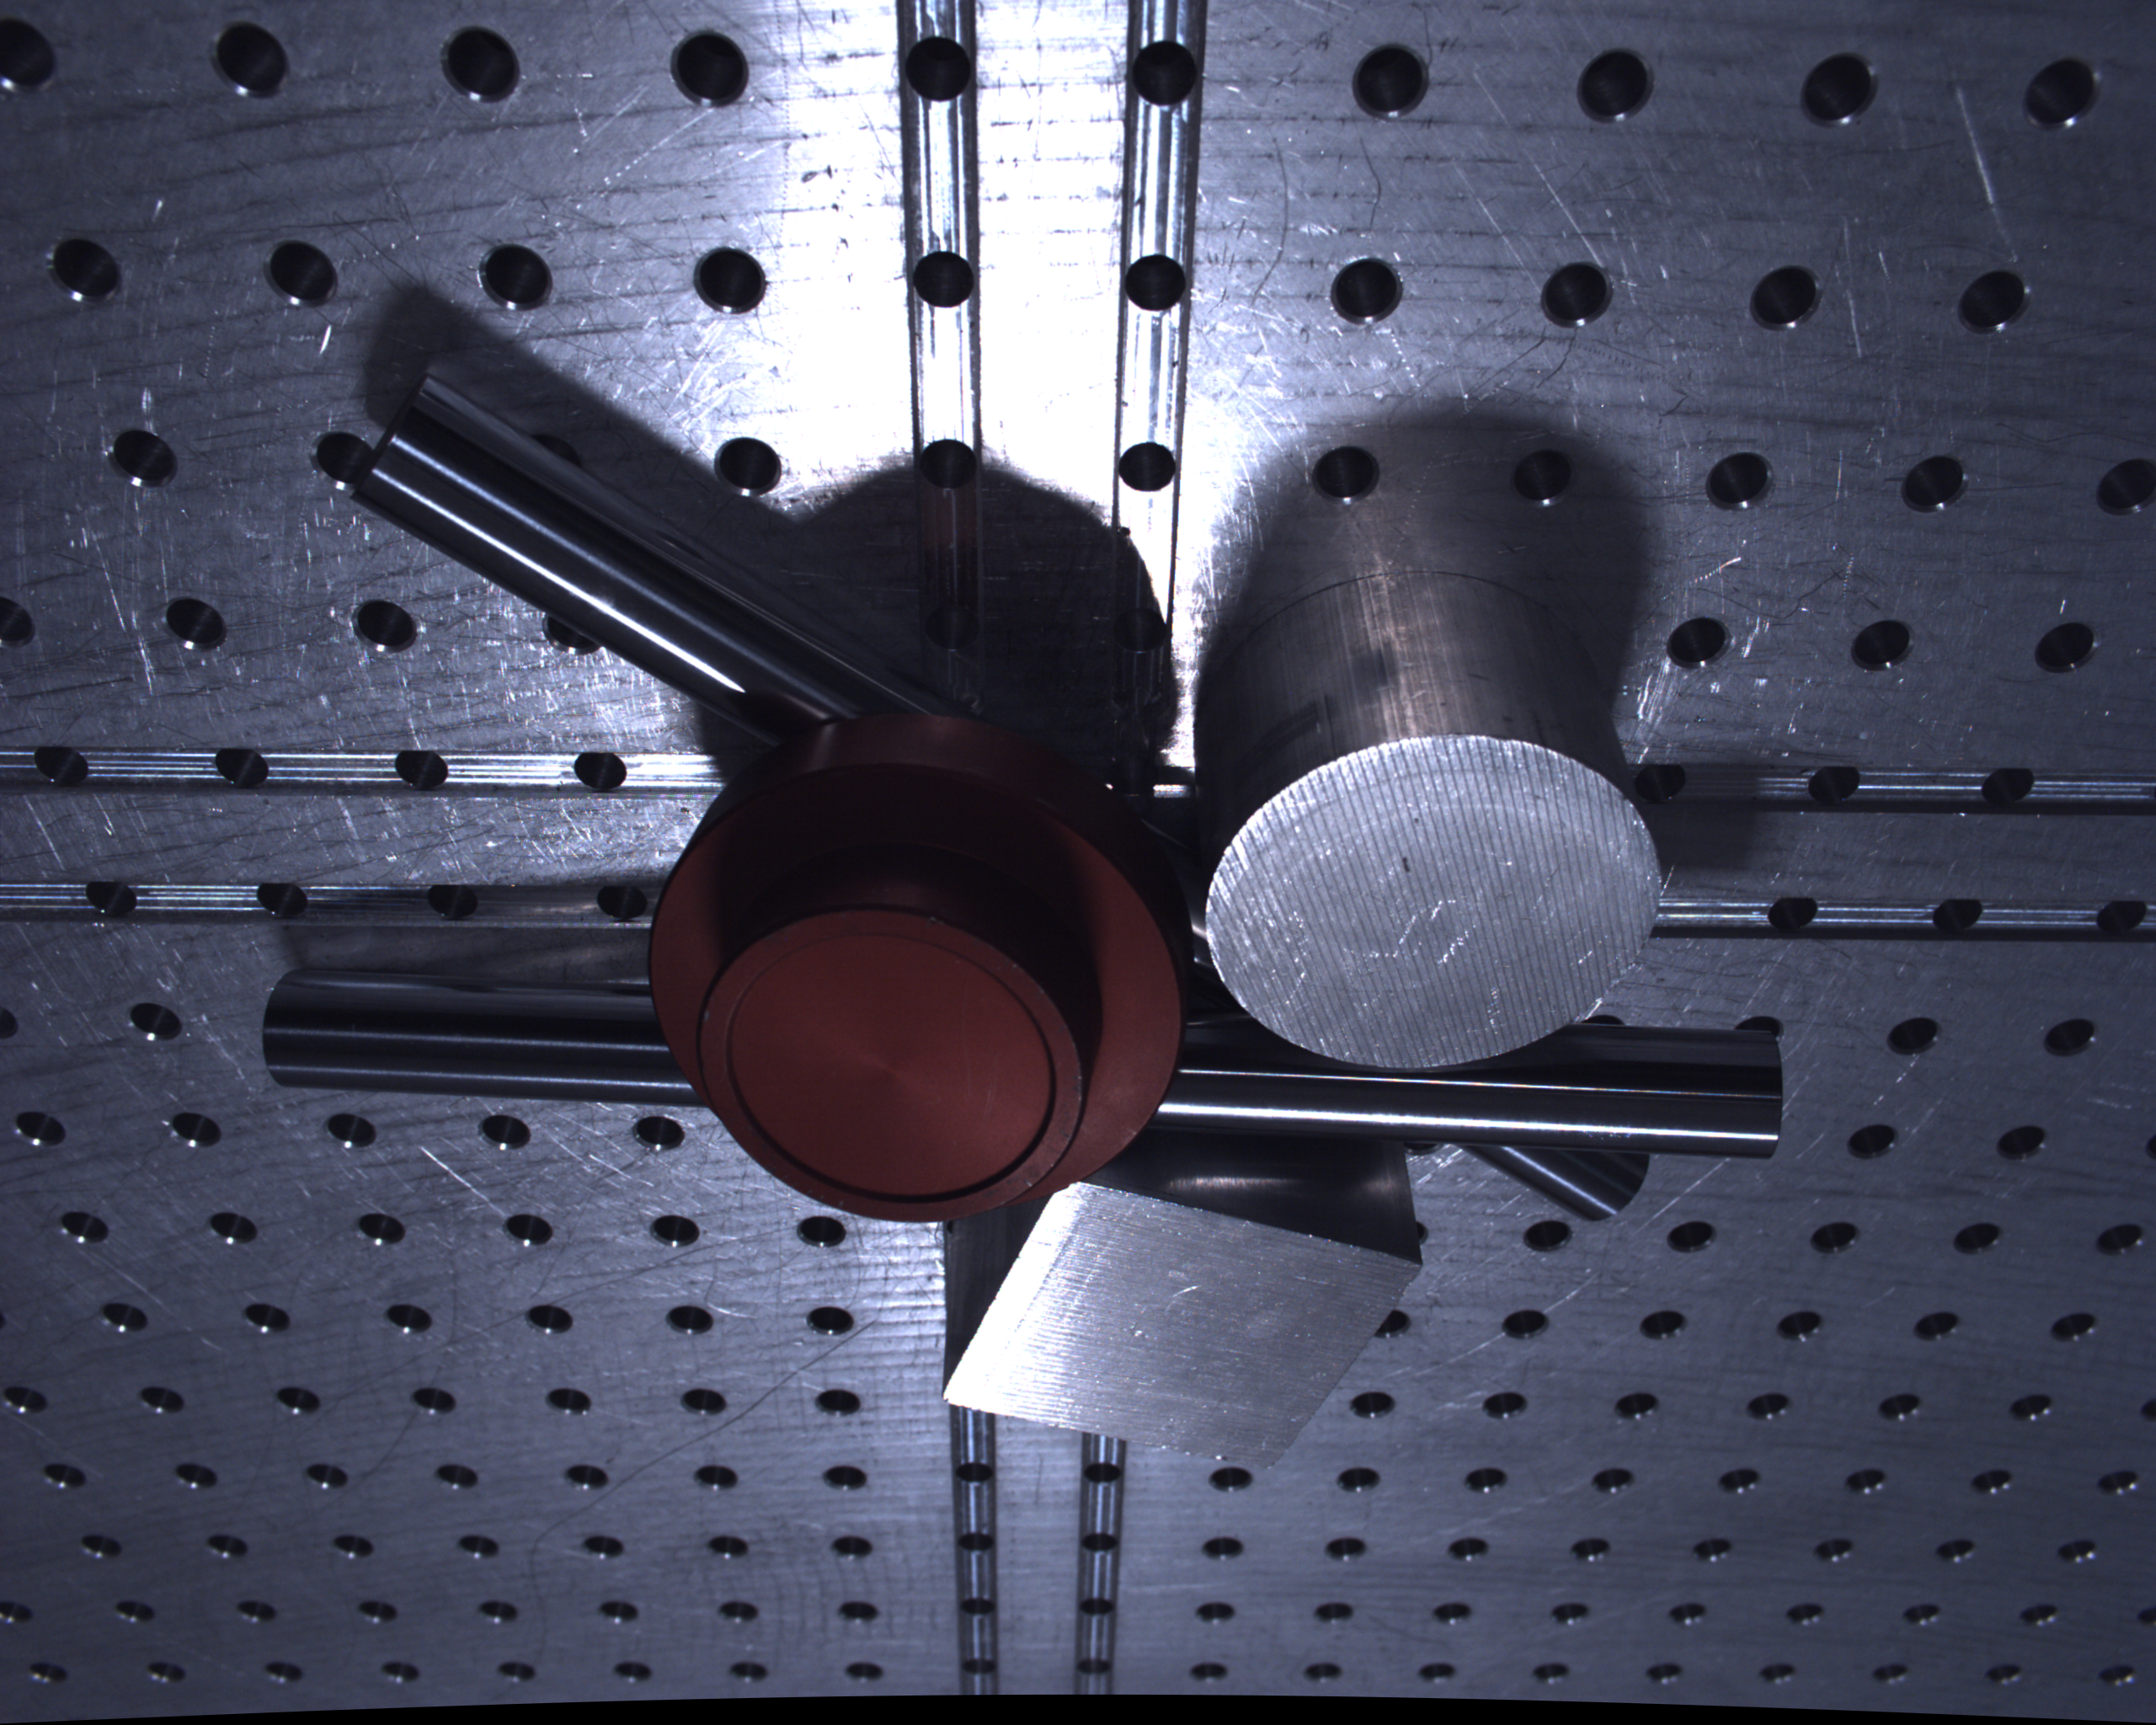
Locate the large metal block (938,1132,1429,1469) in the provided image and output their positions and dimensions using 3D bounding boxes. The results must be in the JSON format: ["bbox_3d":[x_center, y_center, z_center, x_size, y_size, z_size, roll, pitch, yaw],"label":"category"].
[{"bbox_3d":[0.021,0.084,0.465,0.081,0.050,0.079,16,128,-13],"label":"large metal block"}]

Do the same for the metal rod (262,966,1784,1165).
[{"bbox_3d":[-0.016,0.040,0.421,0.302,0.025,0.025,2,131,7],"label":"metal rod"}]

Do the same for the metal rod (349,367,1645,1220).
[{"bbox_3d":[0.002,-0.001,0.411,0.301,0.025,0.025,31,123,-24],"label":"metal rod"}]

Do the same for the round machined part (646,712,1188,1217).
[{"bbox_3d":[-0.030,0.025,0.377,0.099,0.042,0.097,3,122,4],"label":"round machined part"}]

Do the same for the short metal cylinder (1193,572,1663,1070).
[{"bbox_3d":[0.063,-0.007,0.389,0.081,0.050,0.079,0,130,0],"label":"short metal cylinder"}]
